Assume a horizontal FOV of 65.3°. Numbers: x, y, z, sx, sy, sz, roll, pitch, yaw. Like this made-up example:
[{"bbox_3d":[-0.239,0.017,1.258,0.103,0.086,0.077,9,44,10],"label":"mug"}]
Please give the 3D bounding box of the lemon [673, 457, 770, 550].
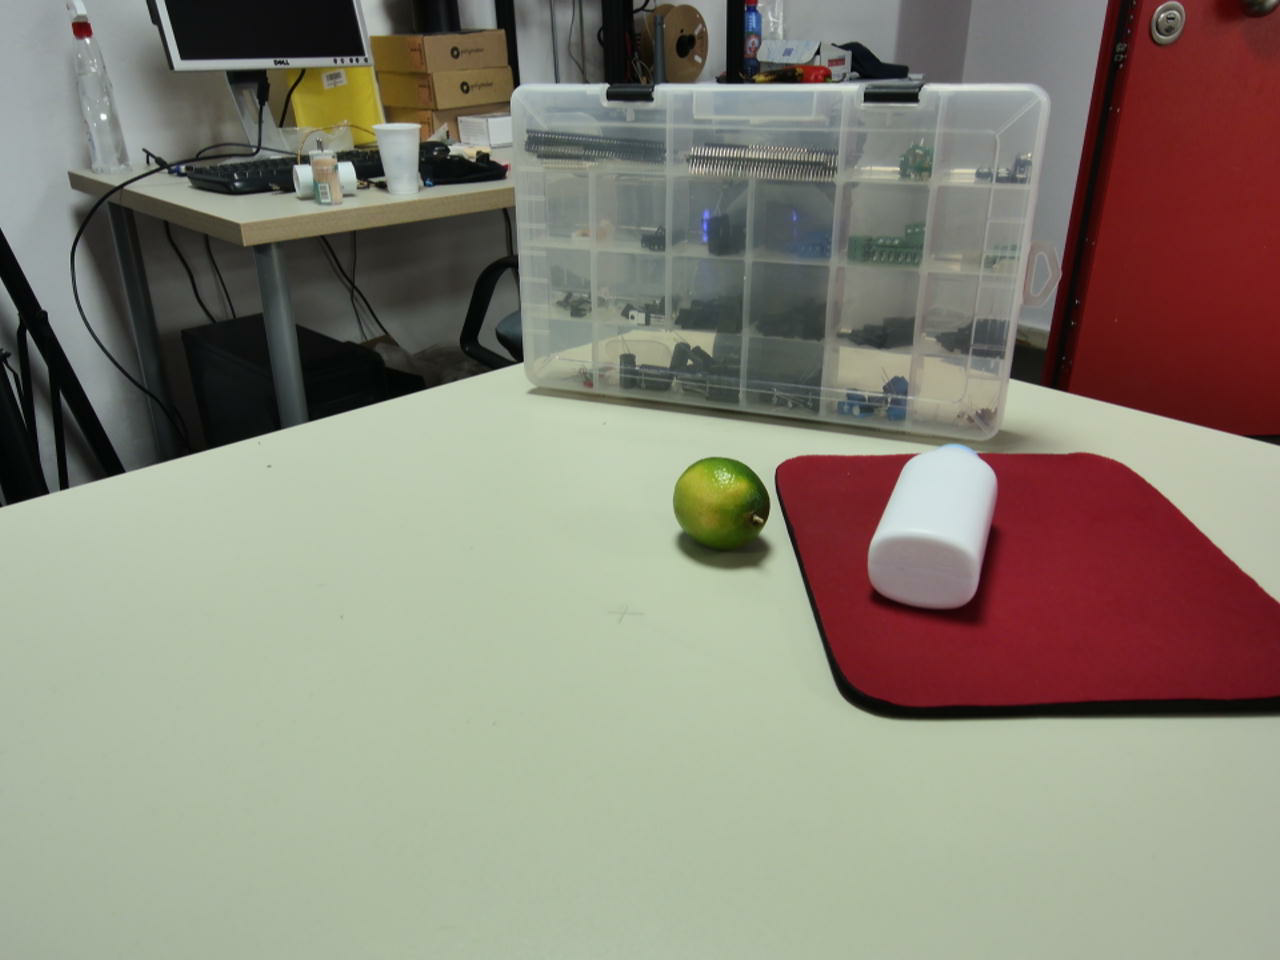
[{"bbox_3d":[0.046,0.013,0.563,0.054,0.050,0.055,3,24,8],"label":"lemon"}]
